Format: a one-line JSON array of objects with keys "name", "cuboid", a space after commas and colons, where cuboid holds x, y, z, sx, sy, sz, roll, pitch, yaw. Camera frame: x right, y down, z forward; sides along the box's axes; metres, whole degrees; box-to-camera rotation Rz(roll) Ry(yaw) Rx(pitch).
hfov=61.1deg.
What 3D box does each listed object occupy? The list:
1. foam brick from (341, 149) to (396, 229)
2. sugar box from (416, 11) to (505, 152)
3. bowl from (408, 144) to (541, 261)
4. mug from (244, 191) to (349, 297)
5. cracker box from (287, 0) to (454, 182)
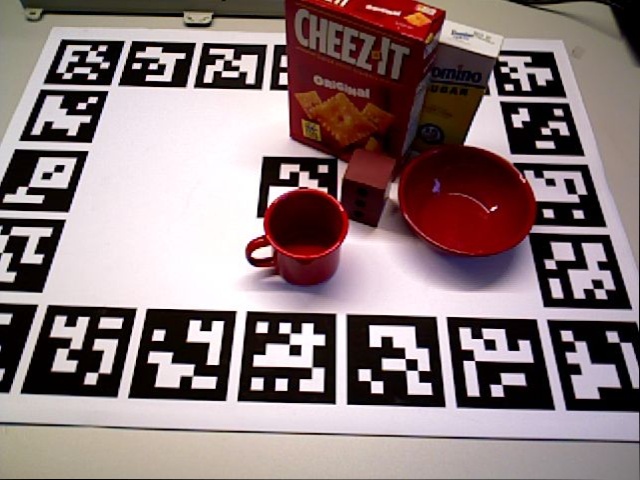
[{"name": "foam brick", "cuboid": [0.056, -0.060, 0.648, 0.053, 0.079, 0.050, 15, 57, 9]}, {"name": "sugar box", "cuboid": [0.154, -0.183, 0.660, 0.093, 0.180, 0.044, 20, 58, 12]}, {"name": "bowl", "cuboid": [0.177, -0.032, 0.626, 0.161, 0.056, 0.159, 0, 59, -1]}, {"name": "mug", "cuboid": [-0.027, 0.009, 0.591, 0.116, 0.083, 0.092, -7, 50, -3]}, {"name": "cracker box", "cuboid": [0.044, -0.185, 0.640, 0.164, 0.218, 0.070, 28, 58, 15]}]
